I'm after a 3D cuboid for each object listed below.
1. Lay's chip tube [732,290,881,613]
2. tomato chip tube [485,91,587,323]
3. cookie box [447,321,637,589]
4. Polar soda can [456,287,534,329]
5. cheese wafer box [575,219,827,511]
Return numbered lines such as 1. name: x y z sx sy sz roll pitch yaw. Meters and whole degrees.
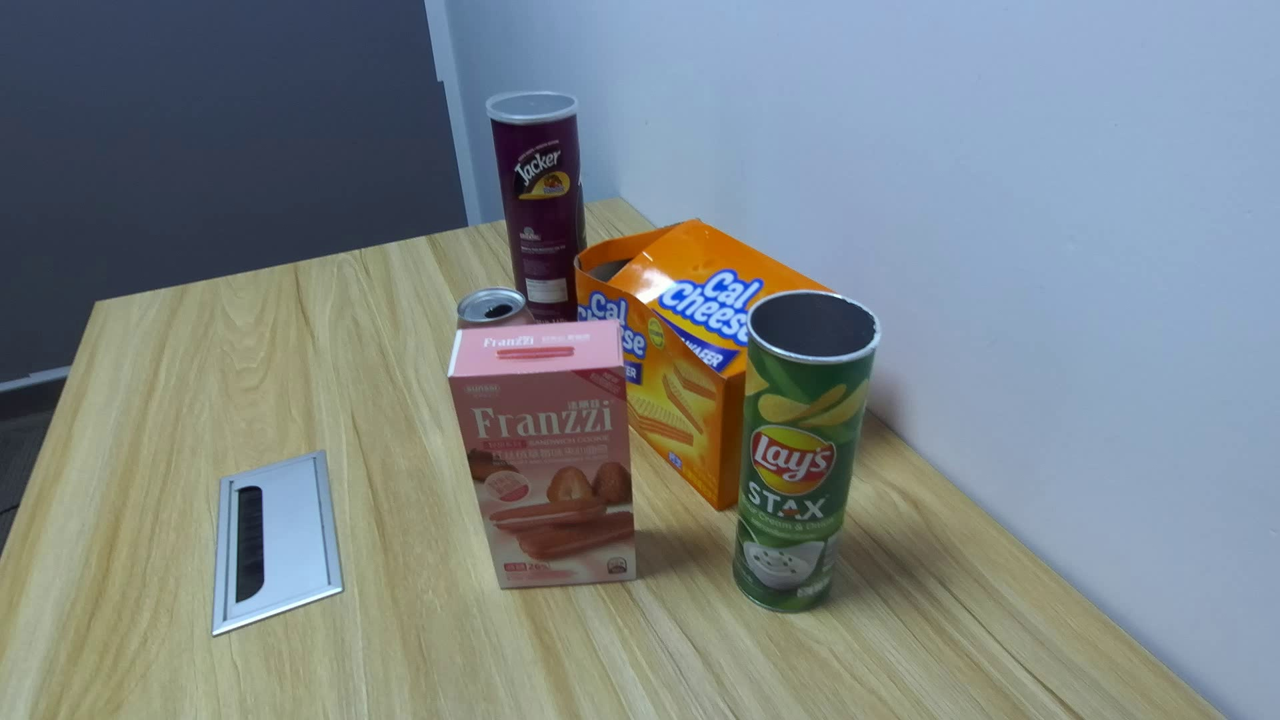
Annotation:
1. Lay's chip tube: 0.094 0.061 0.424 0.071 0.203 0.071 -2 36 2
2. tomato chip tube: -0.090 -0.124 0.677 0.078 0.234 0.078 -1 33 1
3. cookie box: -0.053 0.066 0.447 0.096 0.185 0.048 -4 36 -2
4. Polar soda can: -0.111 0.004 0.597 0.067 0.122 0.074 4 40 20
5. cheese wafer box: 0.054 -0.011 0.603 0.153 0.132 0.229 -23 41 -26
